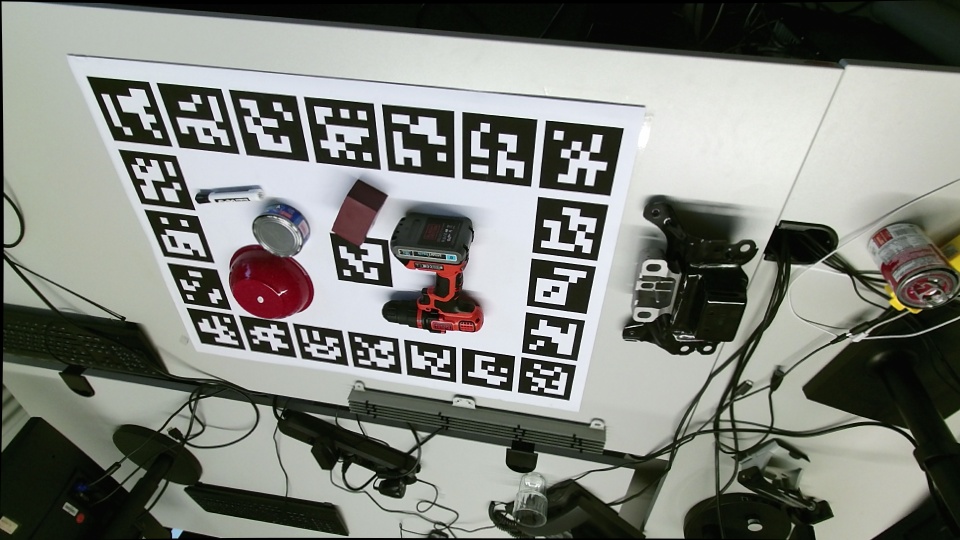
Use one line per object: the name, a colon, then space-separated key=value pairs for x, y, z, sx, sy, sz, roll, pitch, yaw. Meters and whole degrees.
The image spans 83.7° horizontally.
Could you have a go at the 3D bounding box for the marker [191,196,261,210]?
marker: x=-0.417 y=-0.109 z=0.873 sx=0.121 sy=0.019 sz=0.019 roll=0 pitch=124 yaw=13

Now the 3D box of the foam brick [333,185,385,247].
foam brick: x=-0.191 y=-0.082 z=0.834 sx=0.051 sy=0.052 sz=0.078 roll=28 pitch=125 yaw=-7

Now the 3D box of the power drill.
power drill: x=-0.081 y=0.026 z=0.884 sx=0.185 sy=0.057 sz=0.187 roll=9 pitch=130 yaw=10

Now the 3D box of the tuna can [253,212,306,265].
tuna can: x=-0.335 y=-0.053 z=0.889 sx=0.086 sy=0.033 sz=0.086 roll=7 pitch=127 yaw=10

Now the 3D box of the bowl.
bowl: x=-0.389 y=0.045 z=0.973 sx=0.162 sy=0.055 sz=0.162 roll=5 pitch=134 yaw=5
